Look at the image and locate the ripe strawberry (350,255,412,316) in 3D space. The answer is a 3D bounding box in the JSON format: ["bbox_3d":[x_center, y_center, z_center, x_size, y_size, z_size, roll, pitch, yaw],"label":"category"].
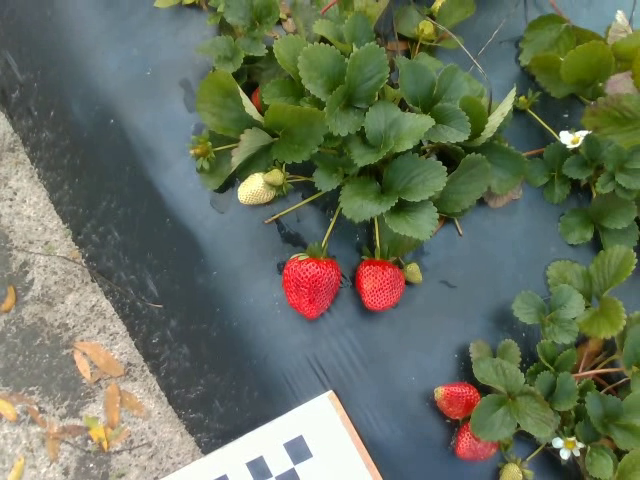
[{"bbox_3d":[0.056,0.046,0.602,0.050,0.060,0.051,-6,-47,26],"label":"ripe strawberry"}]

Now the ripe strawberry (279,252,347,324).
[{"bbox_3d":[-0.010,0.047,0.599,0.058,0.065,0.043,0,-13,25],"label":"ripe strawberry"}]

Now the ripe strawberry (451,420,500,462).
[{"bbox_3d":[0.138,0.188,0.571,0.049,0.044,0.041,-26,-12,-43],"label":"ripe strawberry"}]

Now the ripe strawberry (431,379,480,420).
[{"bbox_3d":[0.124,0.149,0.586,0.053,0.047,0.039,28,22,-17],"label":"ripe strawberry"}]
